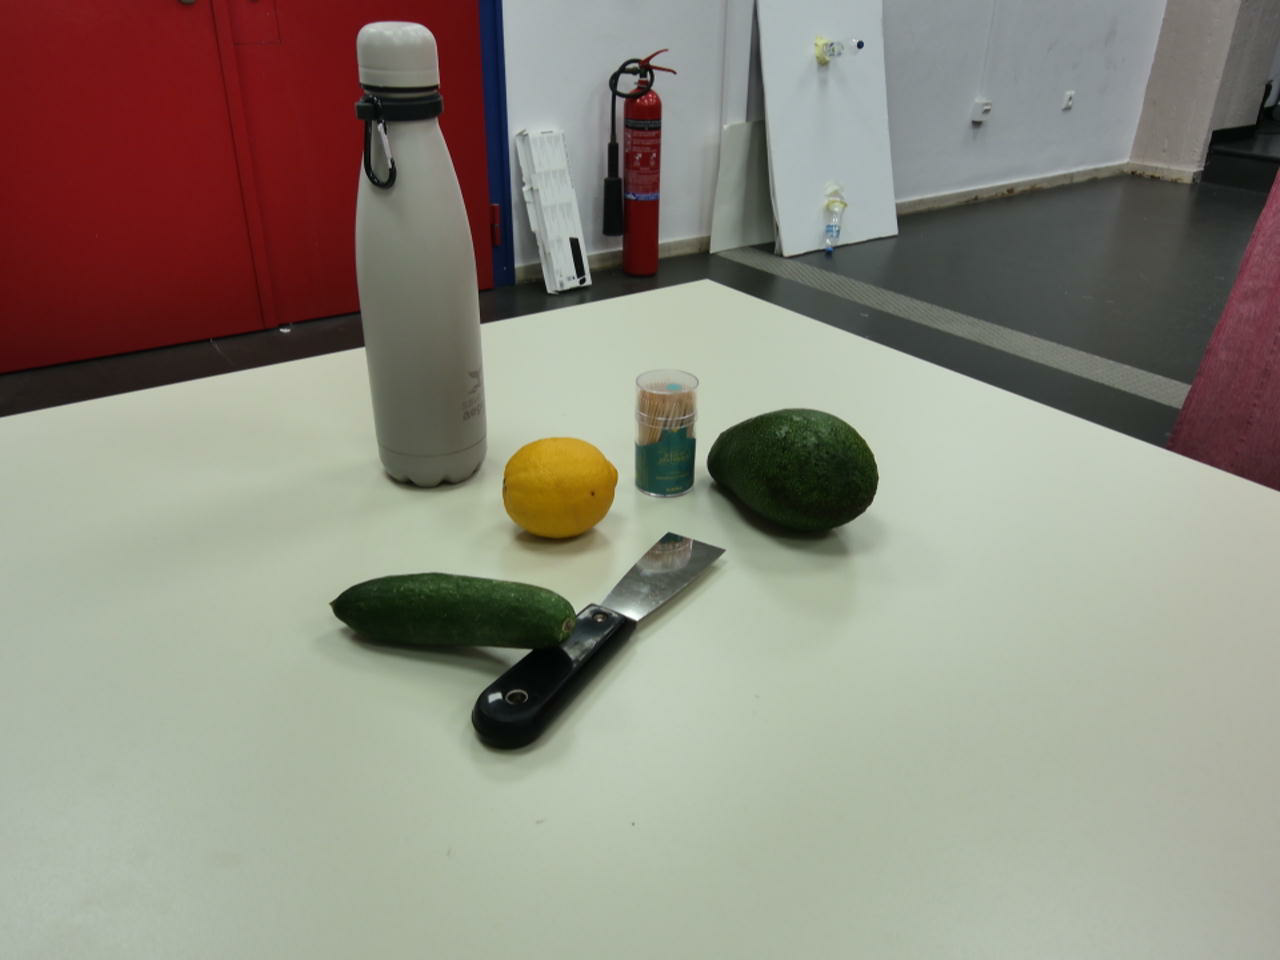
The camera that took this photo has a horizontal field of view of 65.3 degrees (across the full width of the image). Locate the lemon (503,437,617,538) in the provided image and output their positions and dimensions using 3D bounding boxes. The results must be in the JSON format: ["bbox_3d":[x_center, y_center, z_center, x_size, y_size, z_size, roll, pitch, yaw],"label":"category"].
[{"bbox_3d":[-0.048,0.005,0.590,0.067,0.059,0.060,3,26,5],"label":"lemon"}]
